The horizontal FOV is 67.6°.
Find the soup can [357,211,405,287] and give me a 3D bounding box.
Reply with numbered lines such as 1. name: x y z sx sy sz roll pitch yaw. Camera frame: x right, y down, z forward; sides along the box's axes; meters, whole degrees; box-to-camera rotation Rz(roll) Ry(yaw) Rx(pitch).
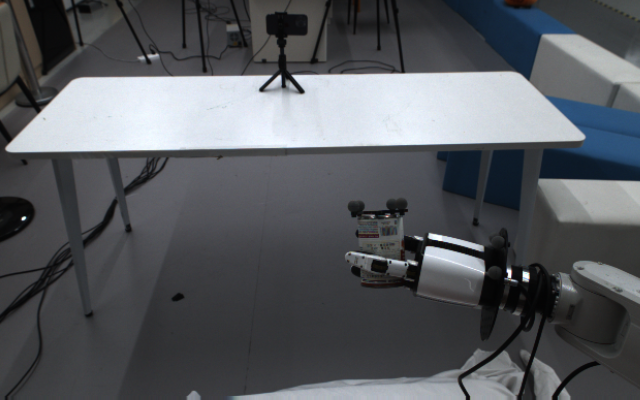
1. soup can: 0.091 0.073 0.705 0.067 0.101 0.067 -3 -1 0
